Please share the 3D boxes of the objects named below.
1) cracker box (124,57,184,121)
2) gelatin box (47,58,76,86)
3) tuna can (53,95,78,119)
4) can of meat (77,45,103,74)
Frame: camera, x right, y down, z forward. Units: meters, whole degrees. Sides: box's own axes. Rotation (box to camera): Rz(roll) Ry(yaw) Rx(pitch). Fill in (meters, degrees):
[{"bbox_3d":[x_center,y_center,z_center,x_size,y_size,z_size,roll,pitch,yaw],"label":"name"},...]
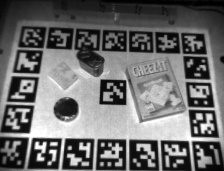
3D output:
[{"bbox_3d":[0.156,0.009,0.826,0.165,0.072,0.212,-13,69,-9],"label":"cracker box"},{"bbox_3d":[-0.197,-0.053,0.846,0.089,0.030,0.073,43,70,9],"label":"gelatin box"},{"bbox_3d":[-0.168,0.080,0.793,0.086,0.034,0.085,1,73,-2],"label":"tuna can"},{"bbox_3d":[-0.083,-0.100,0.849,0.101,0.084,0.058,30,71,10],"label":"can of meat"}]
